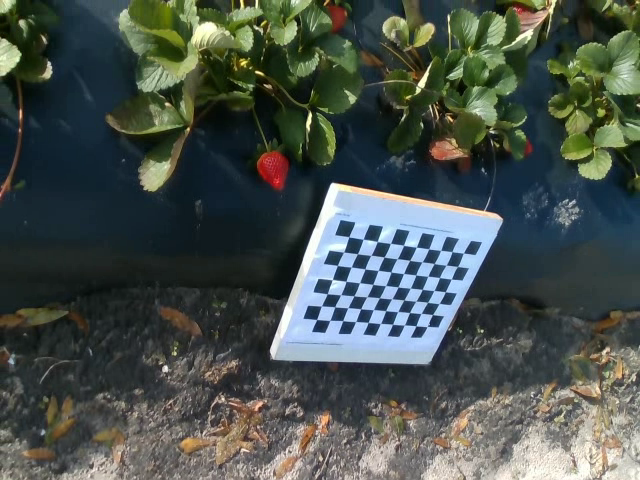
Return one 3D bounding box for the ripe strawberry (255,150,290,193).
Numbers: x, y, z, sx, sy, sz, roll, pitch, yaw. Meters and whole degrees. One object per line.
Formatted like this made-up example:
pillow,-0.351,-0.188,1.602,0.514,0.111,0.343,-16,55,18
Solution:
ripe strawberry,-0.042,-0.068,0.622,0.041,0.047,0.041,-14,-22,-5
